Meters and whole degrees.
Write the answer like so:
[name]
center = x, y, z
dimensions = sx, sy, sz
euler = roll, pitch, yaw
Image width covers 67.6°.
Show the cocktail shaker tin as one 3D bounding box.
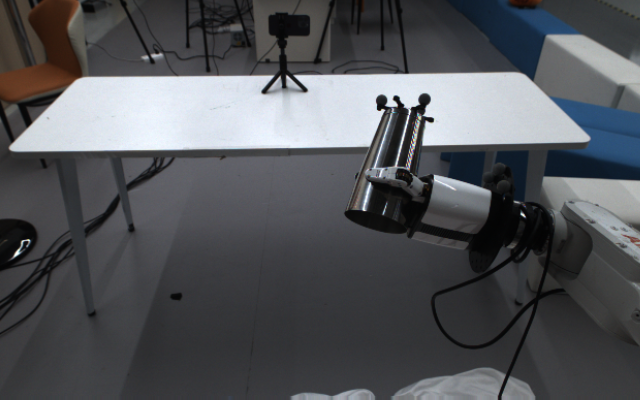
[cocktail shaker tin]
center = 0.102, -0.046, 0.708
dimensions = 0.093, 0.093, 0.170
euler = 13, 73, 15
